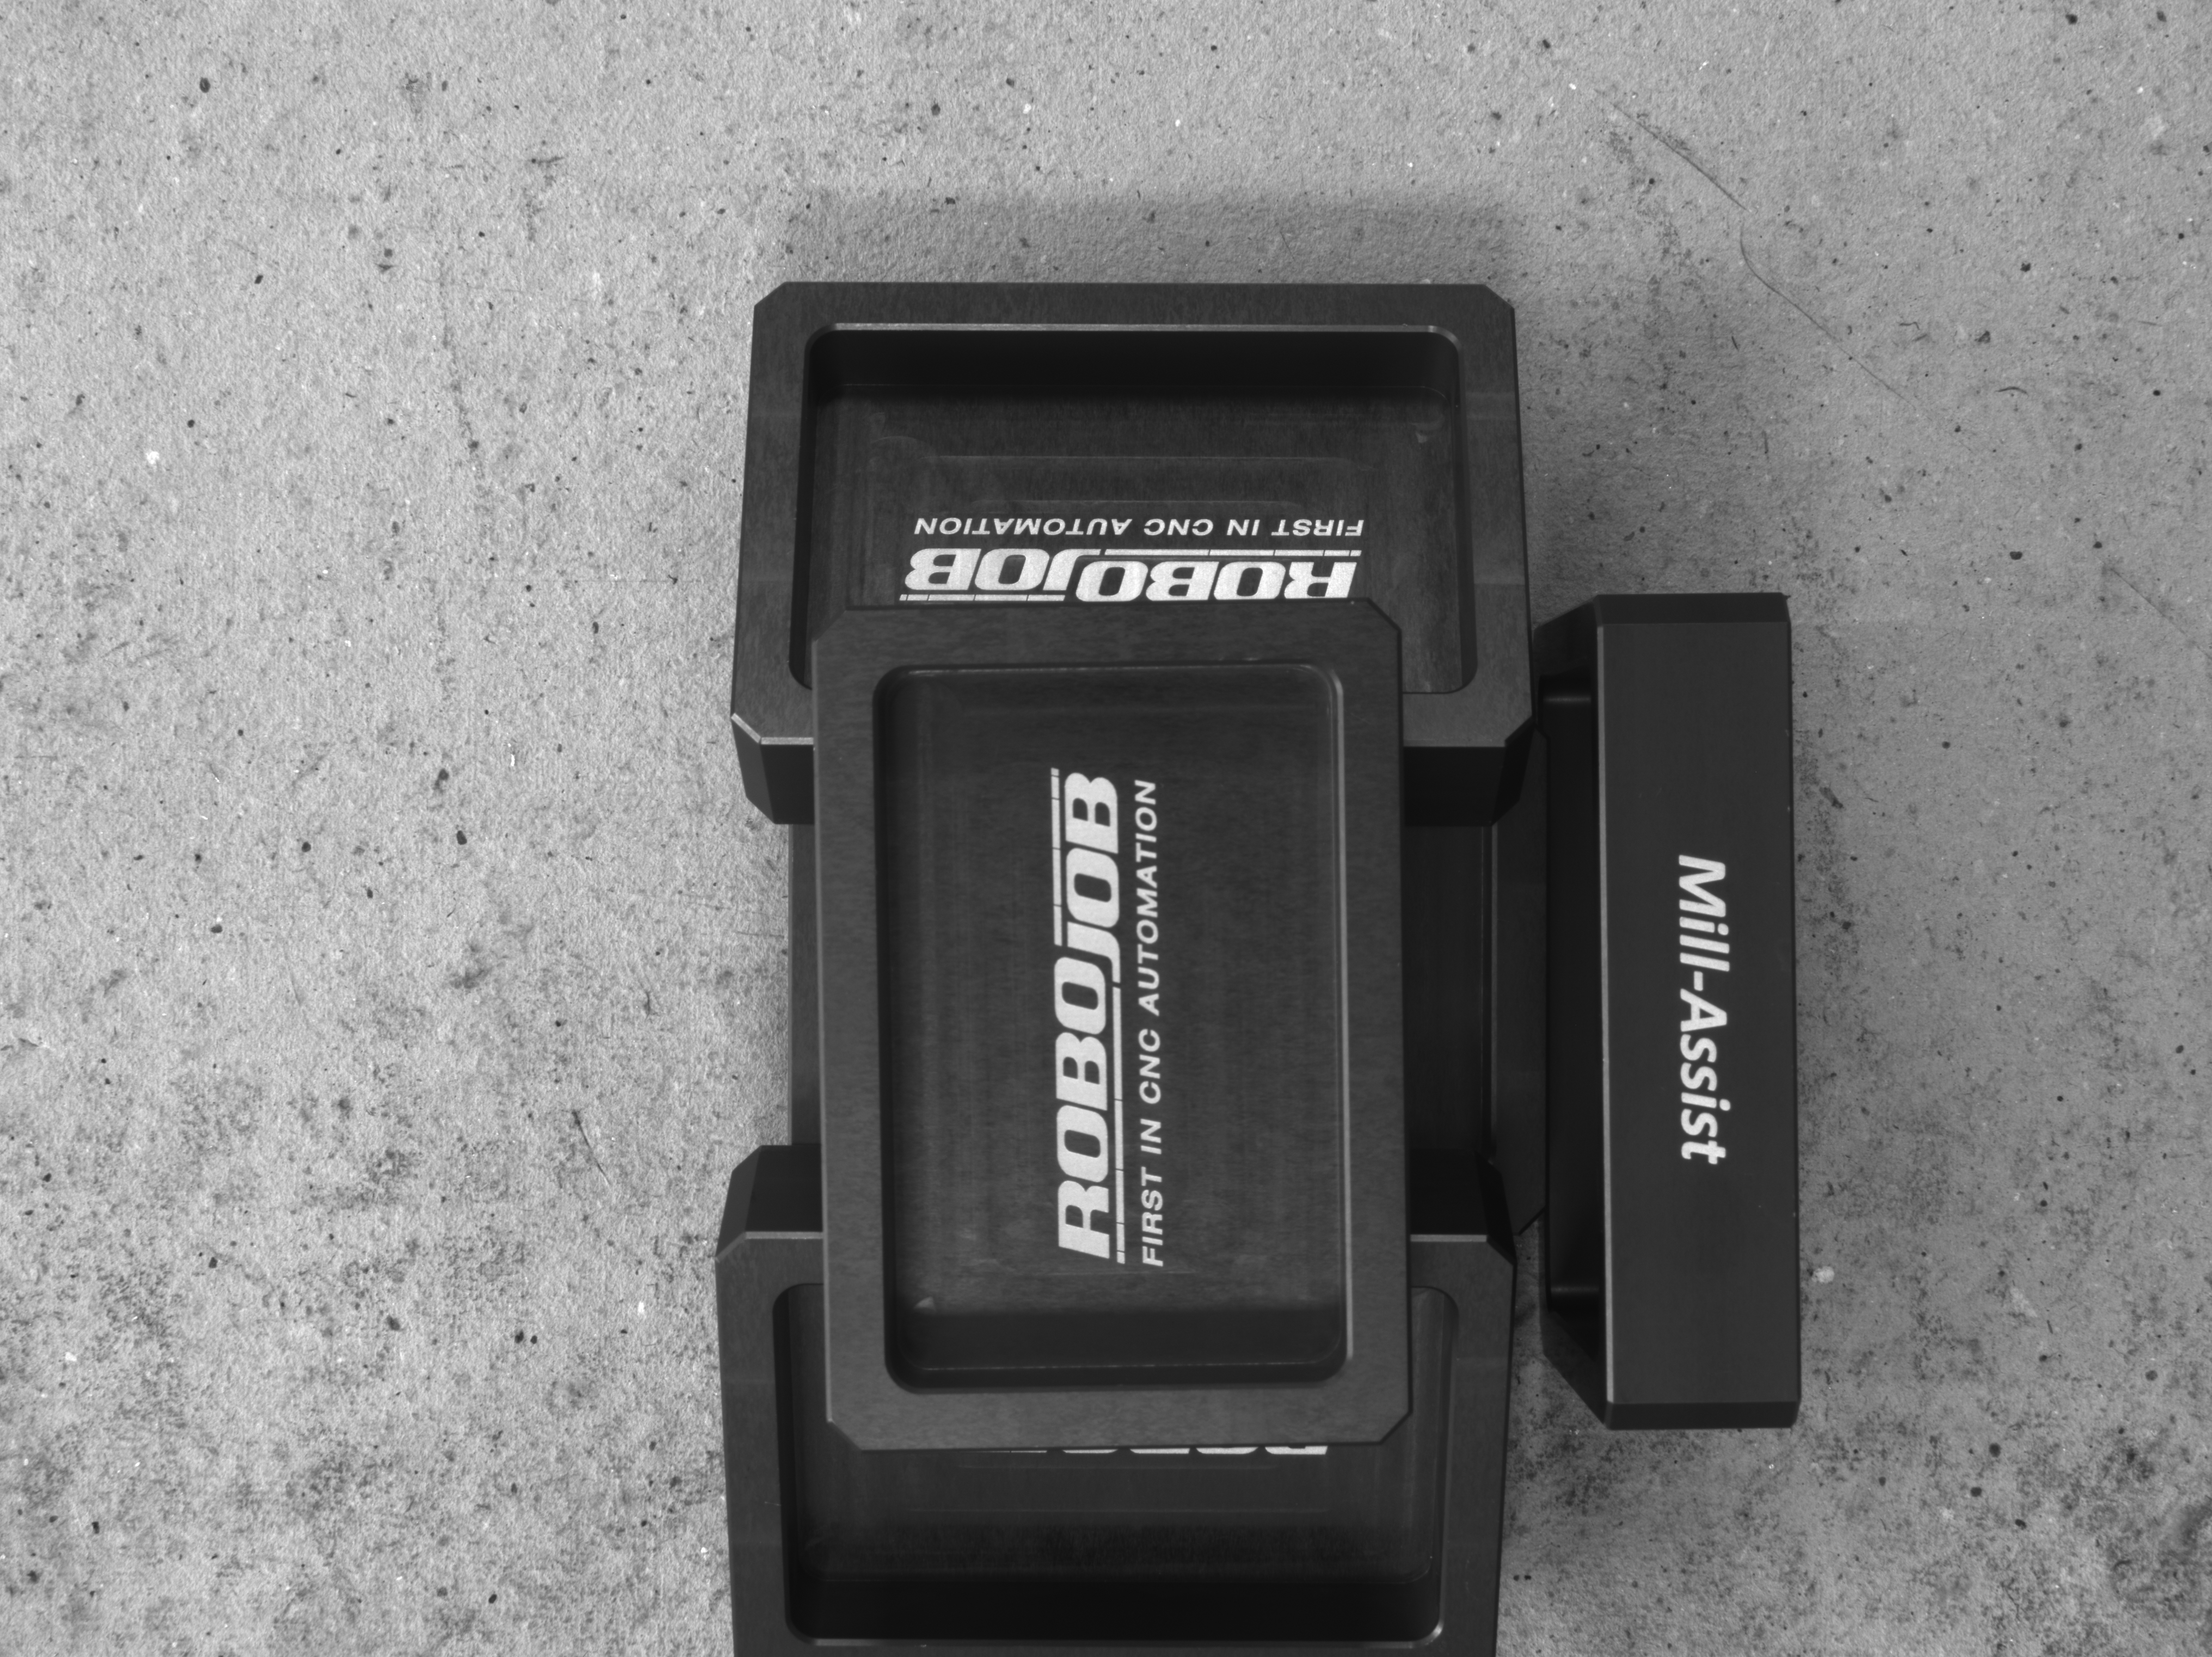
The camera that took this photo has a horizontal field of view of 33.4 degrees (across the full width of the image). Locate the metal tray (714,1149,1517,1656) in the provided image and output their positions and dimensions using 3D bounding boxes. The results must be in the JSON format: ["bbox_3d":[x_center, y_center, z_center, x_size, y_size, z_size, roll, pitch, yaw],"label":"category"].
[{"bbox_3d":[0.002,0.101,0.626,0.130,0.030,0.090,0,115,0],"label":"metal tray"}]

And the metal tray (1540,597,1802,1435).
[{"bbox_3d":[0.092,0.029,0.613,0.030,0.090,0.130,-1,90,0],"label":"metal tray"}]

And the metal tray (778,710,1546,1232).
[{"bbox_3d":[0.010,0.024,0.642,0.130,0.030,0.090,-1,91,0],"label":"metal tray"}]

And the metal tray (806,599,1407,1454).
[{"bbox_3d":[0.000,0.030,0.578,0.090,0.030,0.130,-1,92,0],"label":"metal tray"}]

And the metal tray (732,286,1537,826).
[{"bbox_3d":[0.005,-0.047,0.626,0.130,0.030,0.090,0,63,0],"label":"metal tray"}]
